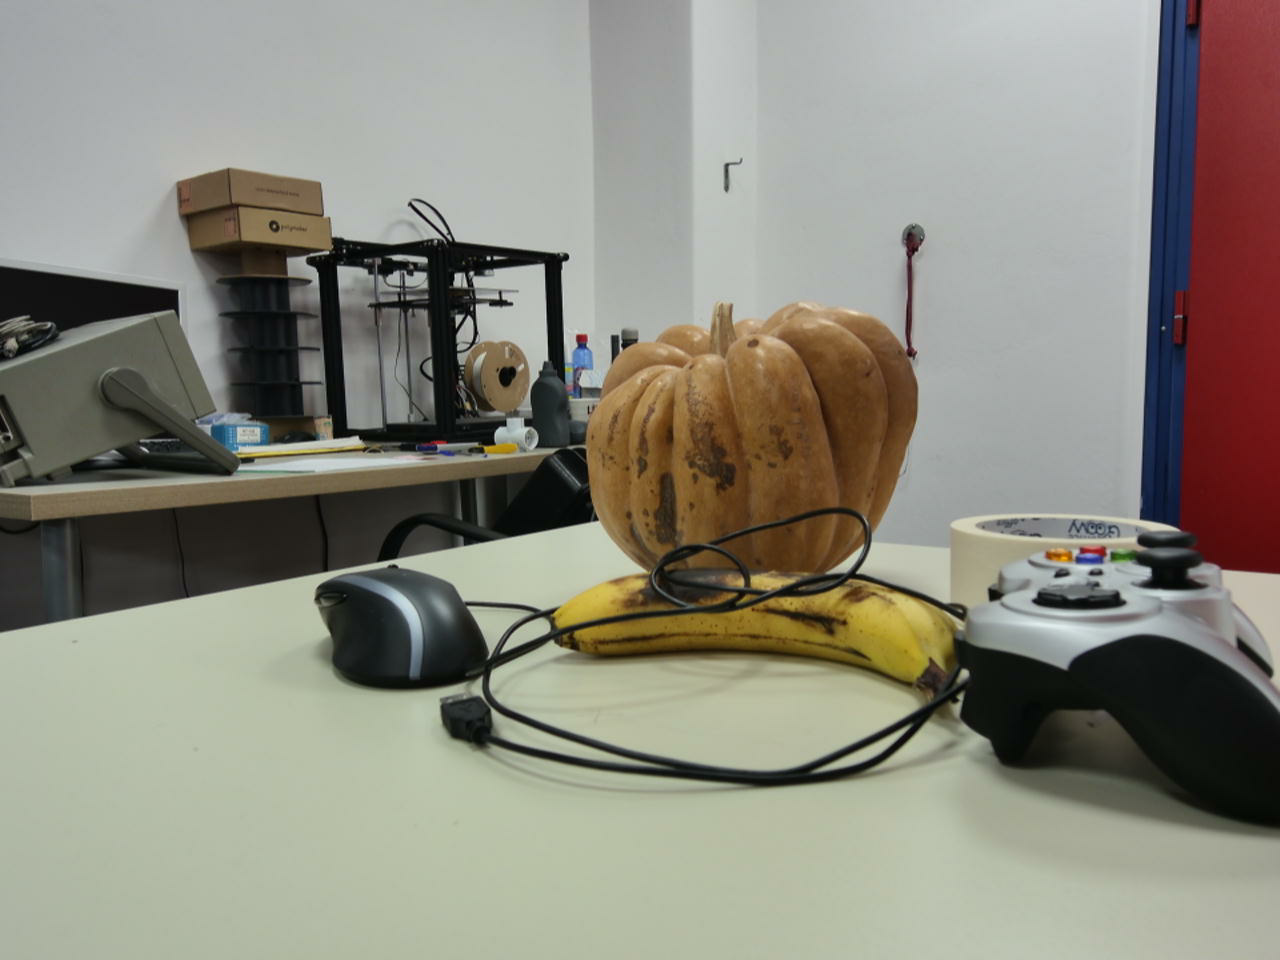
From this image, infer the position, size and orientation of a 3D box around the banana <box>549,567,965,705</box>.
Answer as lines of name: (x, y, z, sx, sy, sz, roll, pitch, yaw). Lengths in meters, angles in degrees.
banana: (0.059, 0.063, 0.440, 0.187, 0.039, 0.094, 2, 4, 36)
